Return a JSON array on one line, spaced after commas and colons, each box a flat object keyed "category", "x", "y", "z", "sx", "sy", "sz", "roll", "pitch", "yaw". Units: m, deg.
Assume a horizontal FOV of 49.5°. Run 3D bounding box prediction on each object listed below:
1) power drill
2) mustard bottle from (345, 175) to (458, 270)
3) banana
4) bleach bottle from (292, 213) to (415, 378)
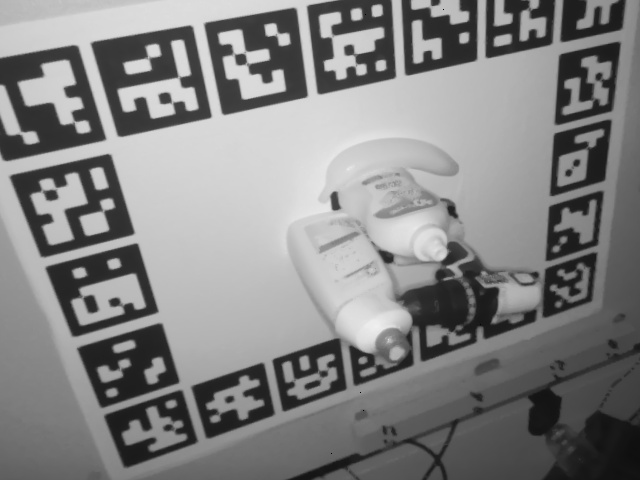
[{"category": "power drill", "x": 0.152, "y": 0.047, "z": 0.815, "sx": 0.186, "sy": 0.187, "sz": 0.057, "roll": 0, "pitch": 116, "yaw": -19}, {"category": "mustard bottle", "x": 0.102, "y": -0.016, "z": 0.790, "sx": 0.097, "sy": 0.191, "sz": 0.058, "roll": -11, "pitch": 118, "yaw": -14}, {"category": "banana", "x": 0.093, "y": -0.082, "z": 0.856, "sx": 0.200, "sy": 0.038, "sz": 0.073, "roll": -9, "pitch": 115, "yaw": -19}, {"category": "bleach bottle", "x": 0.046, "y": 0.059, "z": 0.776, "sx": 0.104, "sy": 0.250, "sz": 0.067, "roll": -9, "pitch": 123, "yaw": -16}]
